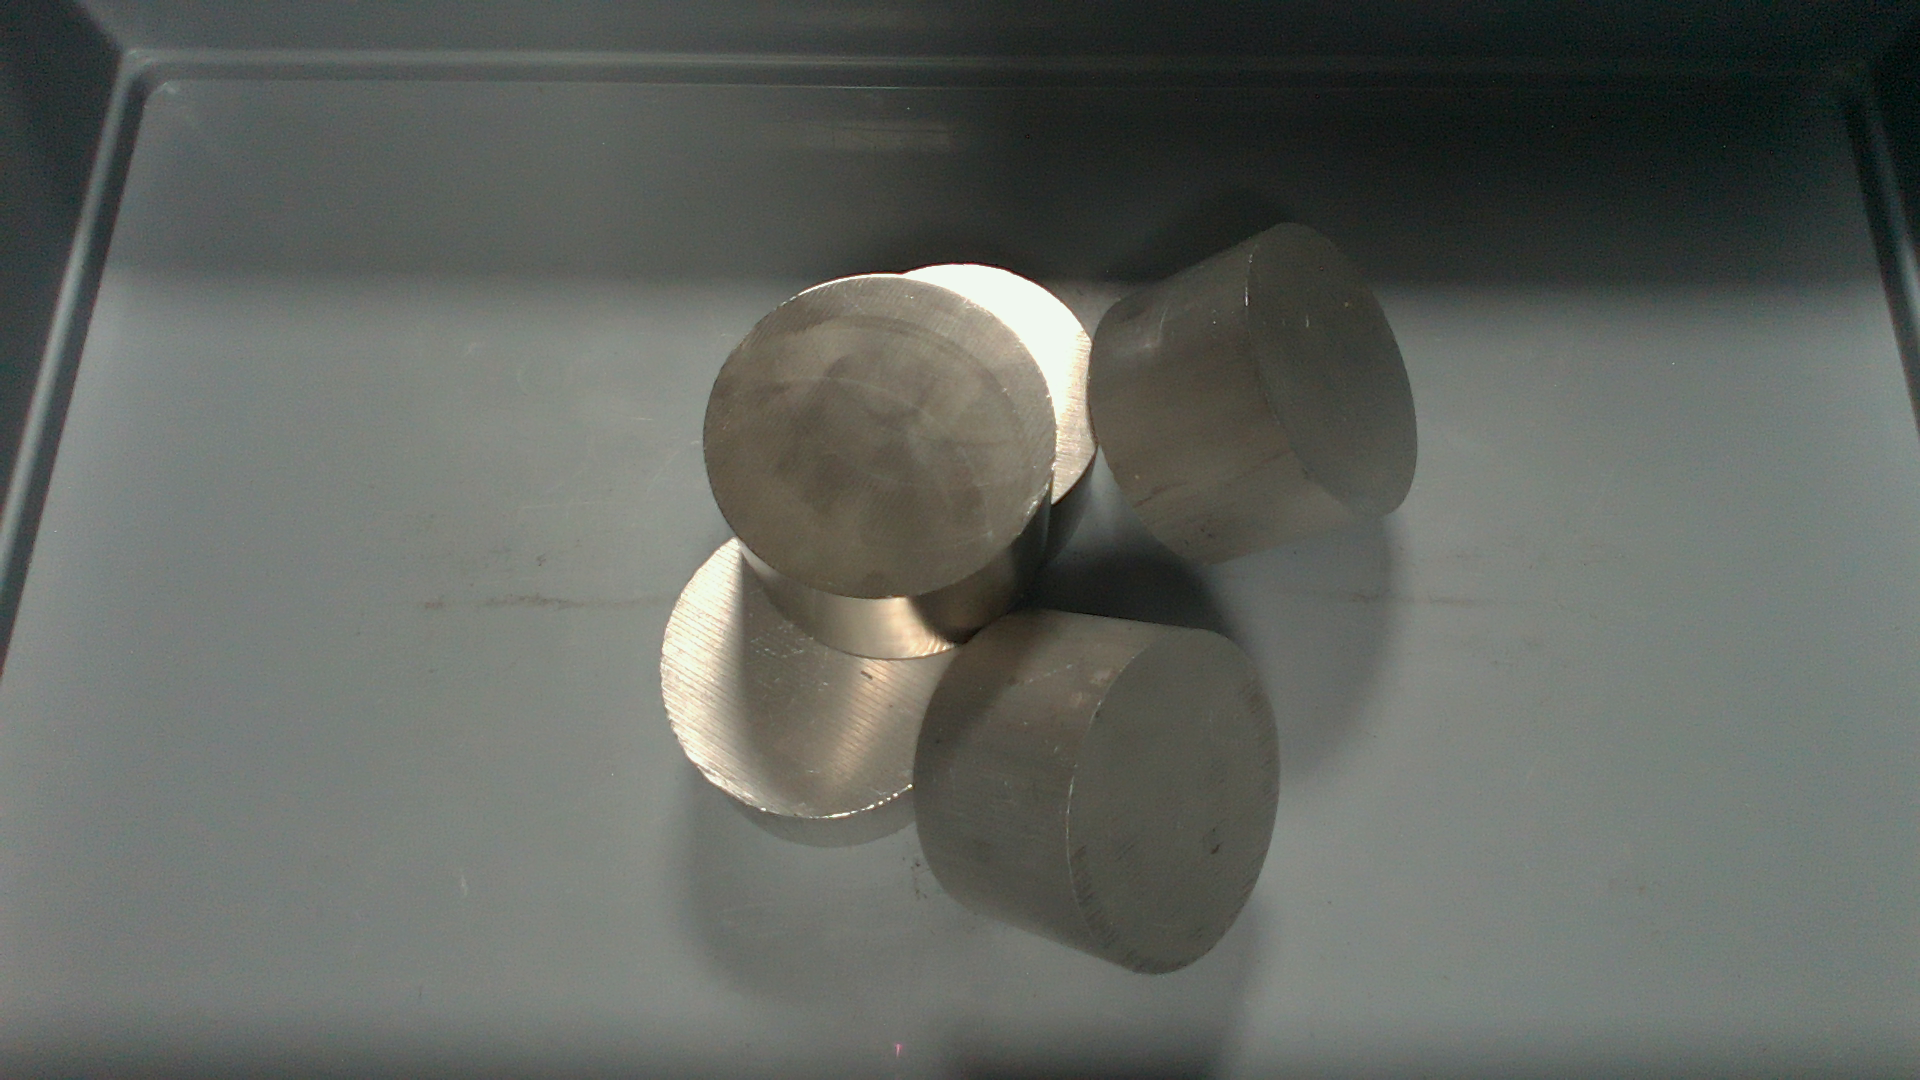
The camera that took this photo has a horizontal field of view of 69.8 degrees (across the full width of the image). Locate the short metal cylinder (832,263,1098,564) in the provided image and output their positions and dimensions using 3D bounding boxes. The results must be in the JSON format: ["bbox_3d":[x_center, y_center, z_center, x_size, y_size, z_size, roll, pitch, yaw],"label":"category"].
[{"bbox_3d":[-0.001,-0.031,0.391,0.080,0.050,0.080,0,70,0],"label":"short metal cylinder"}]

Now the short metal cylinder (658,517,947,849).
[{"bbox_3d":[-0.035,0.038,0.367,0.080,0.050,0.080,0,70,0],"label":"short metal cylinder"}]

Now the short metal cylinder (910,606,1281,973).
[{"bbox_3d":[0.034,0.058,0.336,0.050,0.080,0.080,5,63,46],"label":"short metal cylinder"}]

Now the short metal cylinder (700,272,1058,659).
[{"bbox_3d":[-0.018,-0.017,0.331,0.080,0.050,0.080,0,70,0],"label":"short metal cylinder"}]

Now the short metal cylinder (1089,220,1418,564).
[{"bbox_3d":[0.080,-0.039,0.372,0.080,0.050,0.080,20,61,-40],"label":"short metal cylinder"}]
